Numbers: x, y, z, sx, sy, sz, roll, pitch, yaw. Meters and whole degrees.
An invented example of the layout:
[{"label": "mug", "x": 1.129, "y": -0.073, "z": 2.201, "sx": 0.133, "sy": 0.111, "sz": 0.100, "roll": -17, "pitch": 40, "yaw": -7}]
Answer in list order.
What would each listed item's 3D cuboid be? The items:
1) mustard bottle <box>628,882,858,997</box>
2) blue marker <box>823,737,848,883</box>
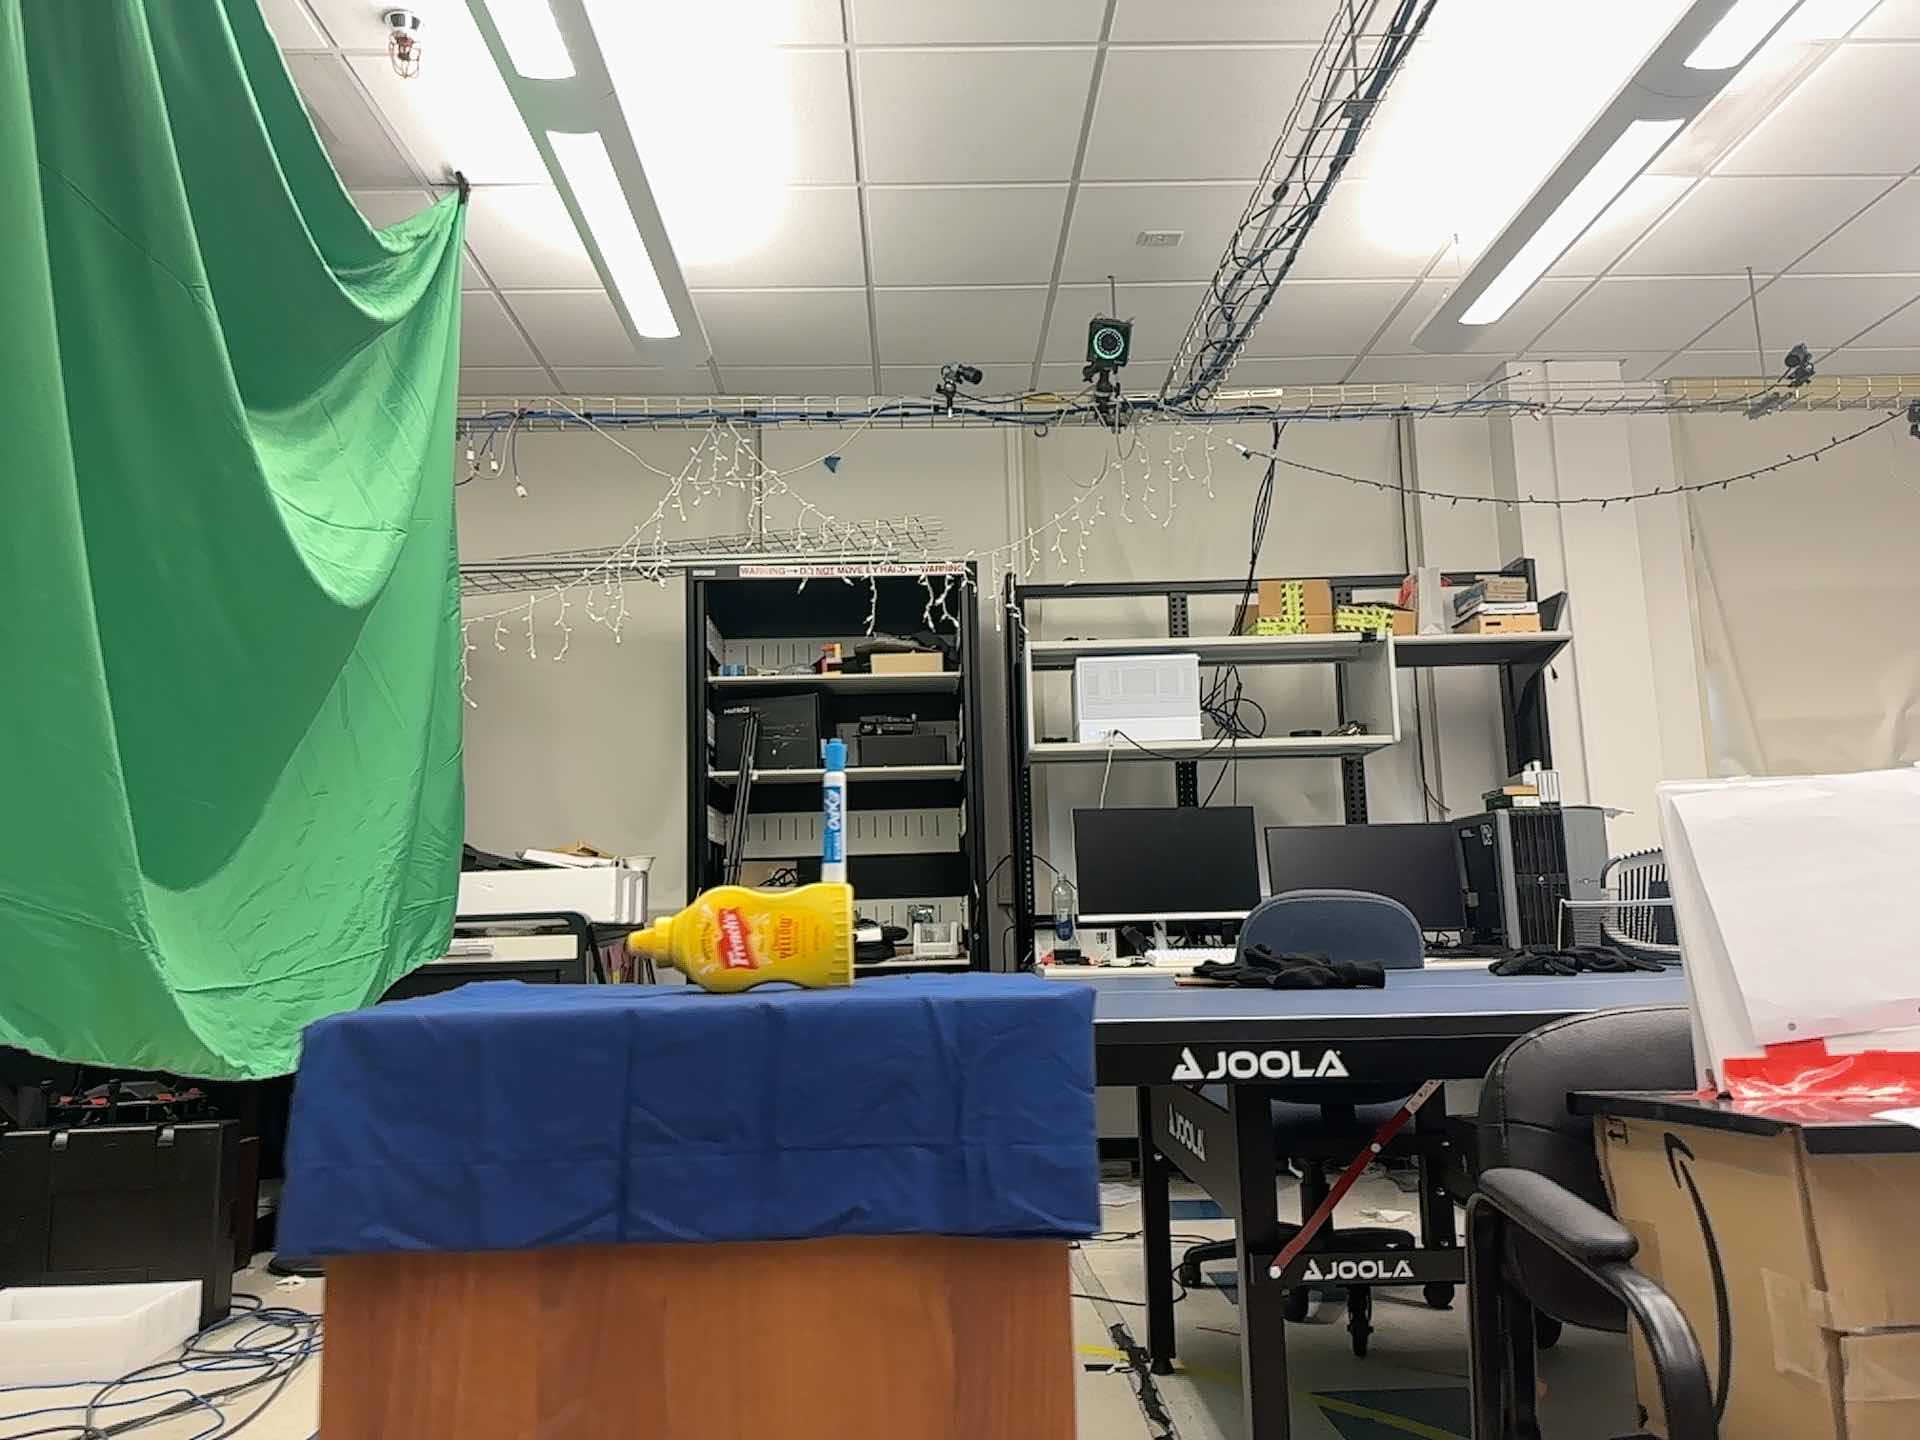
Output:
[{"label": "mustard bottle", "x": -0.177, "y": 0.180, "z": 1.099, "sx": 0.184, "sy": 0.092, "sz": 0.054, "roll": 0, "pitch": -1, "yaw": -8}, {"label": "blue marker", "x": -0.105, "y": 0.074, "z": 1.124, "sx": 0.020, "sy": 0.121, "sz": 0.020, "roll": -2, "pitch": -10, "yaw": 0}]
